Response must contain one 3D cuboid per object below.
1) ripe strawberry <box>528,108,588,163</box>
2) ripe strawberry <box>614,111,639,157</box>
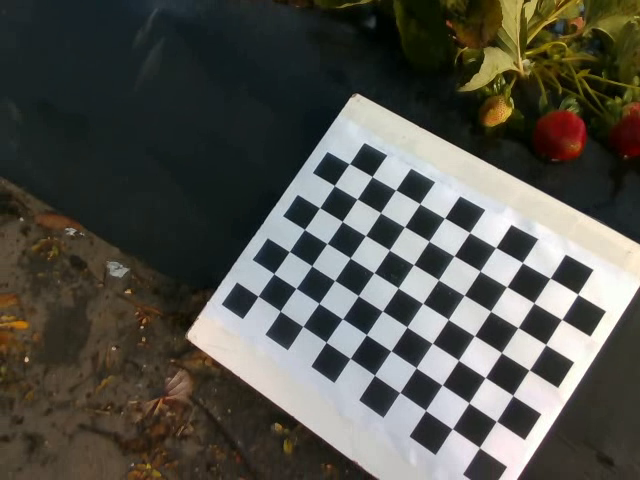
[{"bbox_3d":[0.218,-0.097,0.582,0.050,0.050,0.065,-9,18,9],"label":"ripe strawberry"},{"bbox_3d":[0.299,-0.098,0.611,0.044,0.042,0.055,-31,20,0],"label":"ripe strawberry"}]
